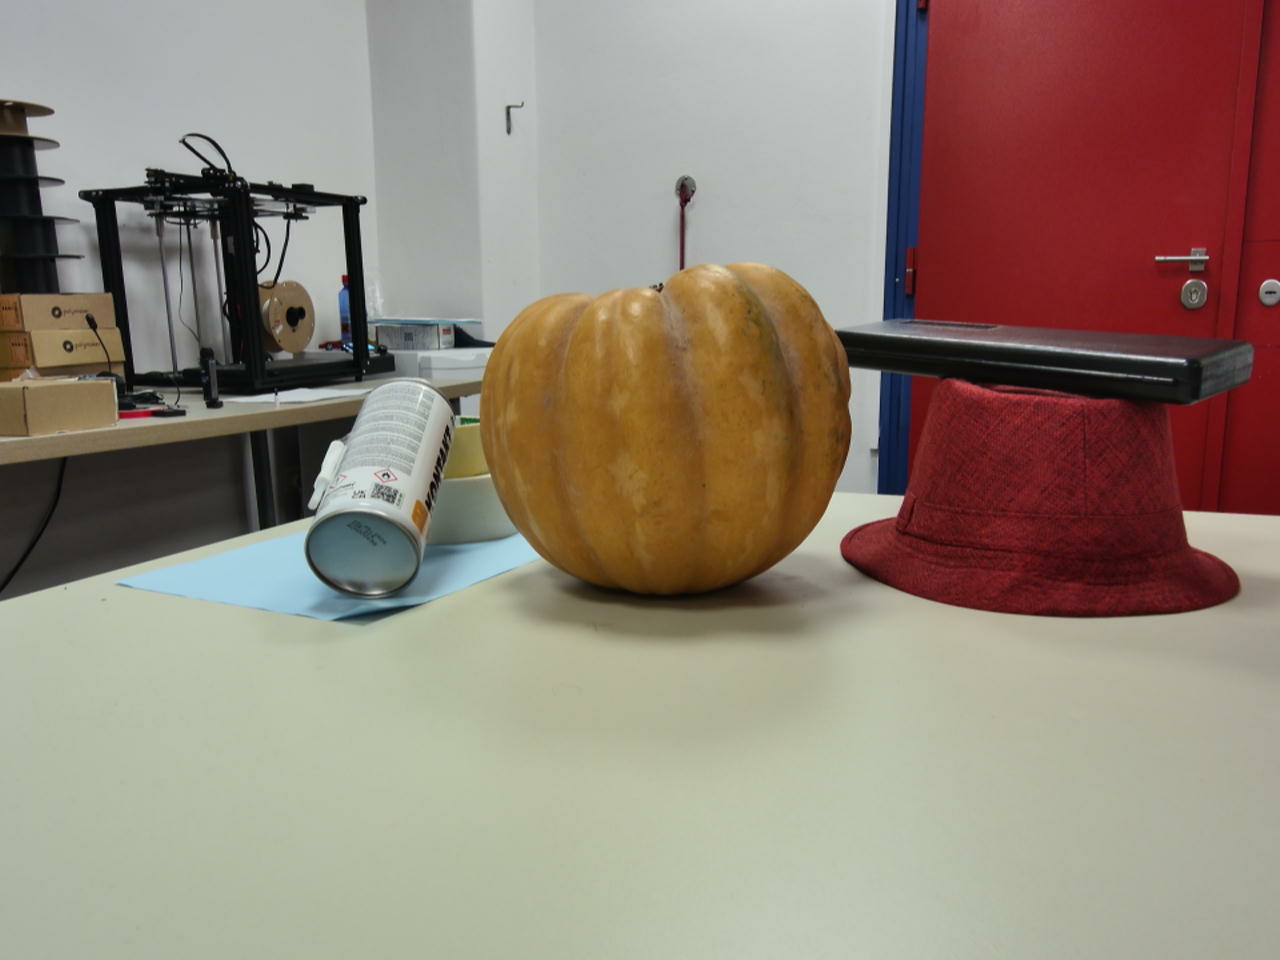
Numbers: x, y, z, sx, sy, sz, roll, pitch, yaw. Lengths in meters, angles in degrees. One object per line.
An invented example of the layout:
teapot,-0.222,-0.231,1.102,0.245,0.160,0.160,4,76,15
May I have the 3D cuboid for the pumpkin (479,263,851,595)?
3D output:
pumpkin,0.017,-0.031,0.611,0.230,0.194,0.230,0,7,0
